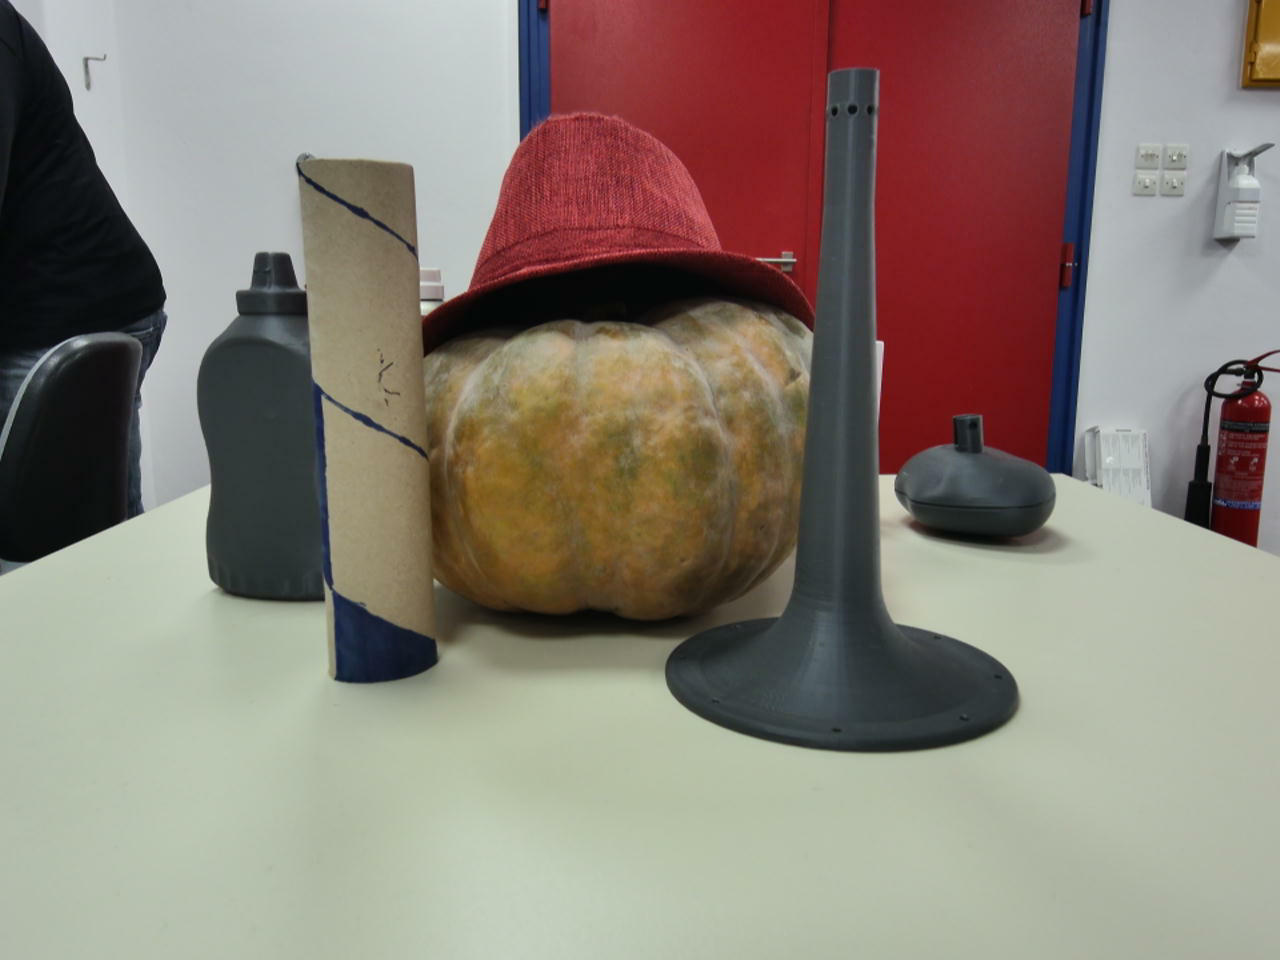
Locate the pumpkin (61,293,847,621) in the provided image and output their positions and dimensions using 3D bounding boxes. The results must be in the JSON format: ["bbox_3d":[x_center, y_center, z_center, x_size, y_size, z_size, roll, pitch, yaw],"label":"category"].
[{"bbox_3d":[-0.019,-0.016,0.551,0.252,0.168,0.252,0,8,0],"label":"pumpkin"}]
